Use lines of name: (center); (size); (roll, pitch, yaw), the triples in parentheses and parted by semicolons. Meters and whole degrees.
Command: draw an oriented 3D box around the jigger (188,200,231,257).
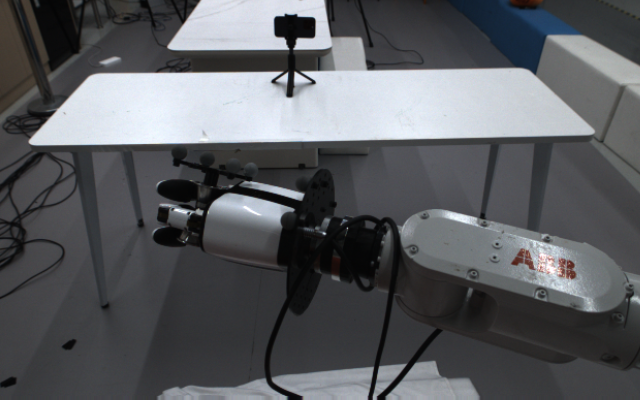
jigger: (-0.129, 0.016, 0.551); (0.043, 0.071, 0.043); (14, 2, 0)
